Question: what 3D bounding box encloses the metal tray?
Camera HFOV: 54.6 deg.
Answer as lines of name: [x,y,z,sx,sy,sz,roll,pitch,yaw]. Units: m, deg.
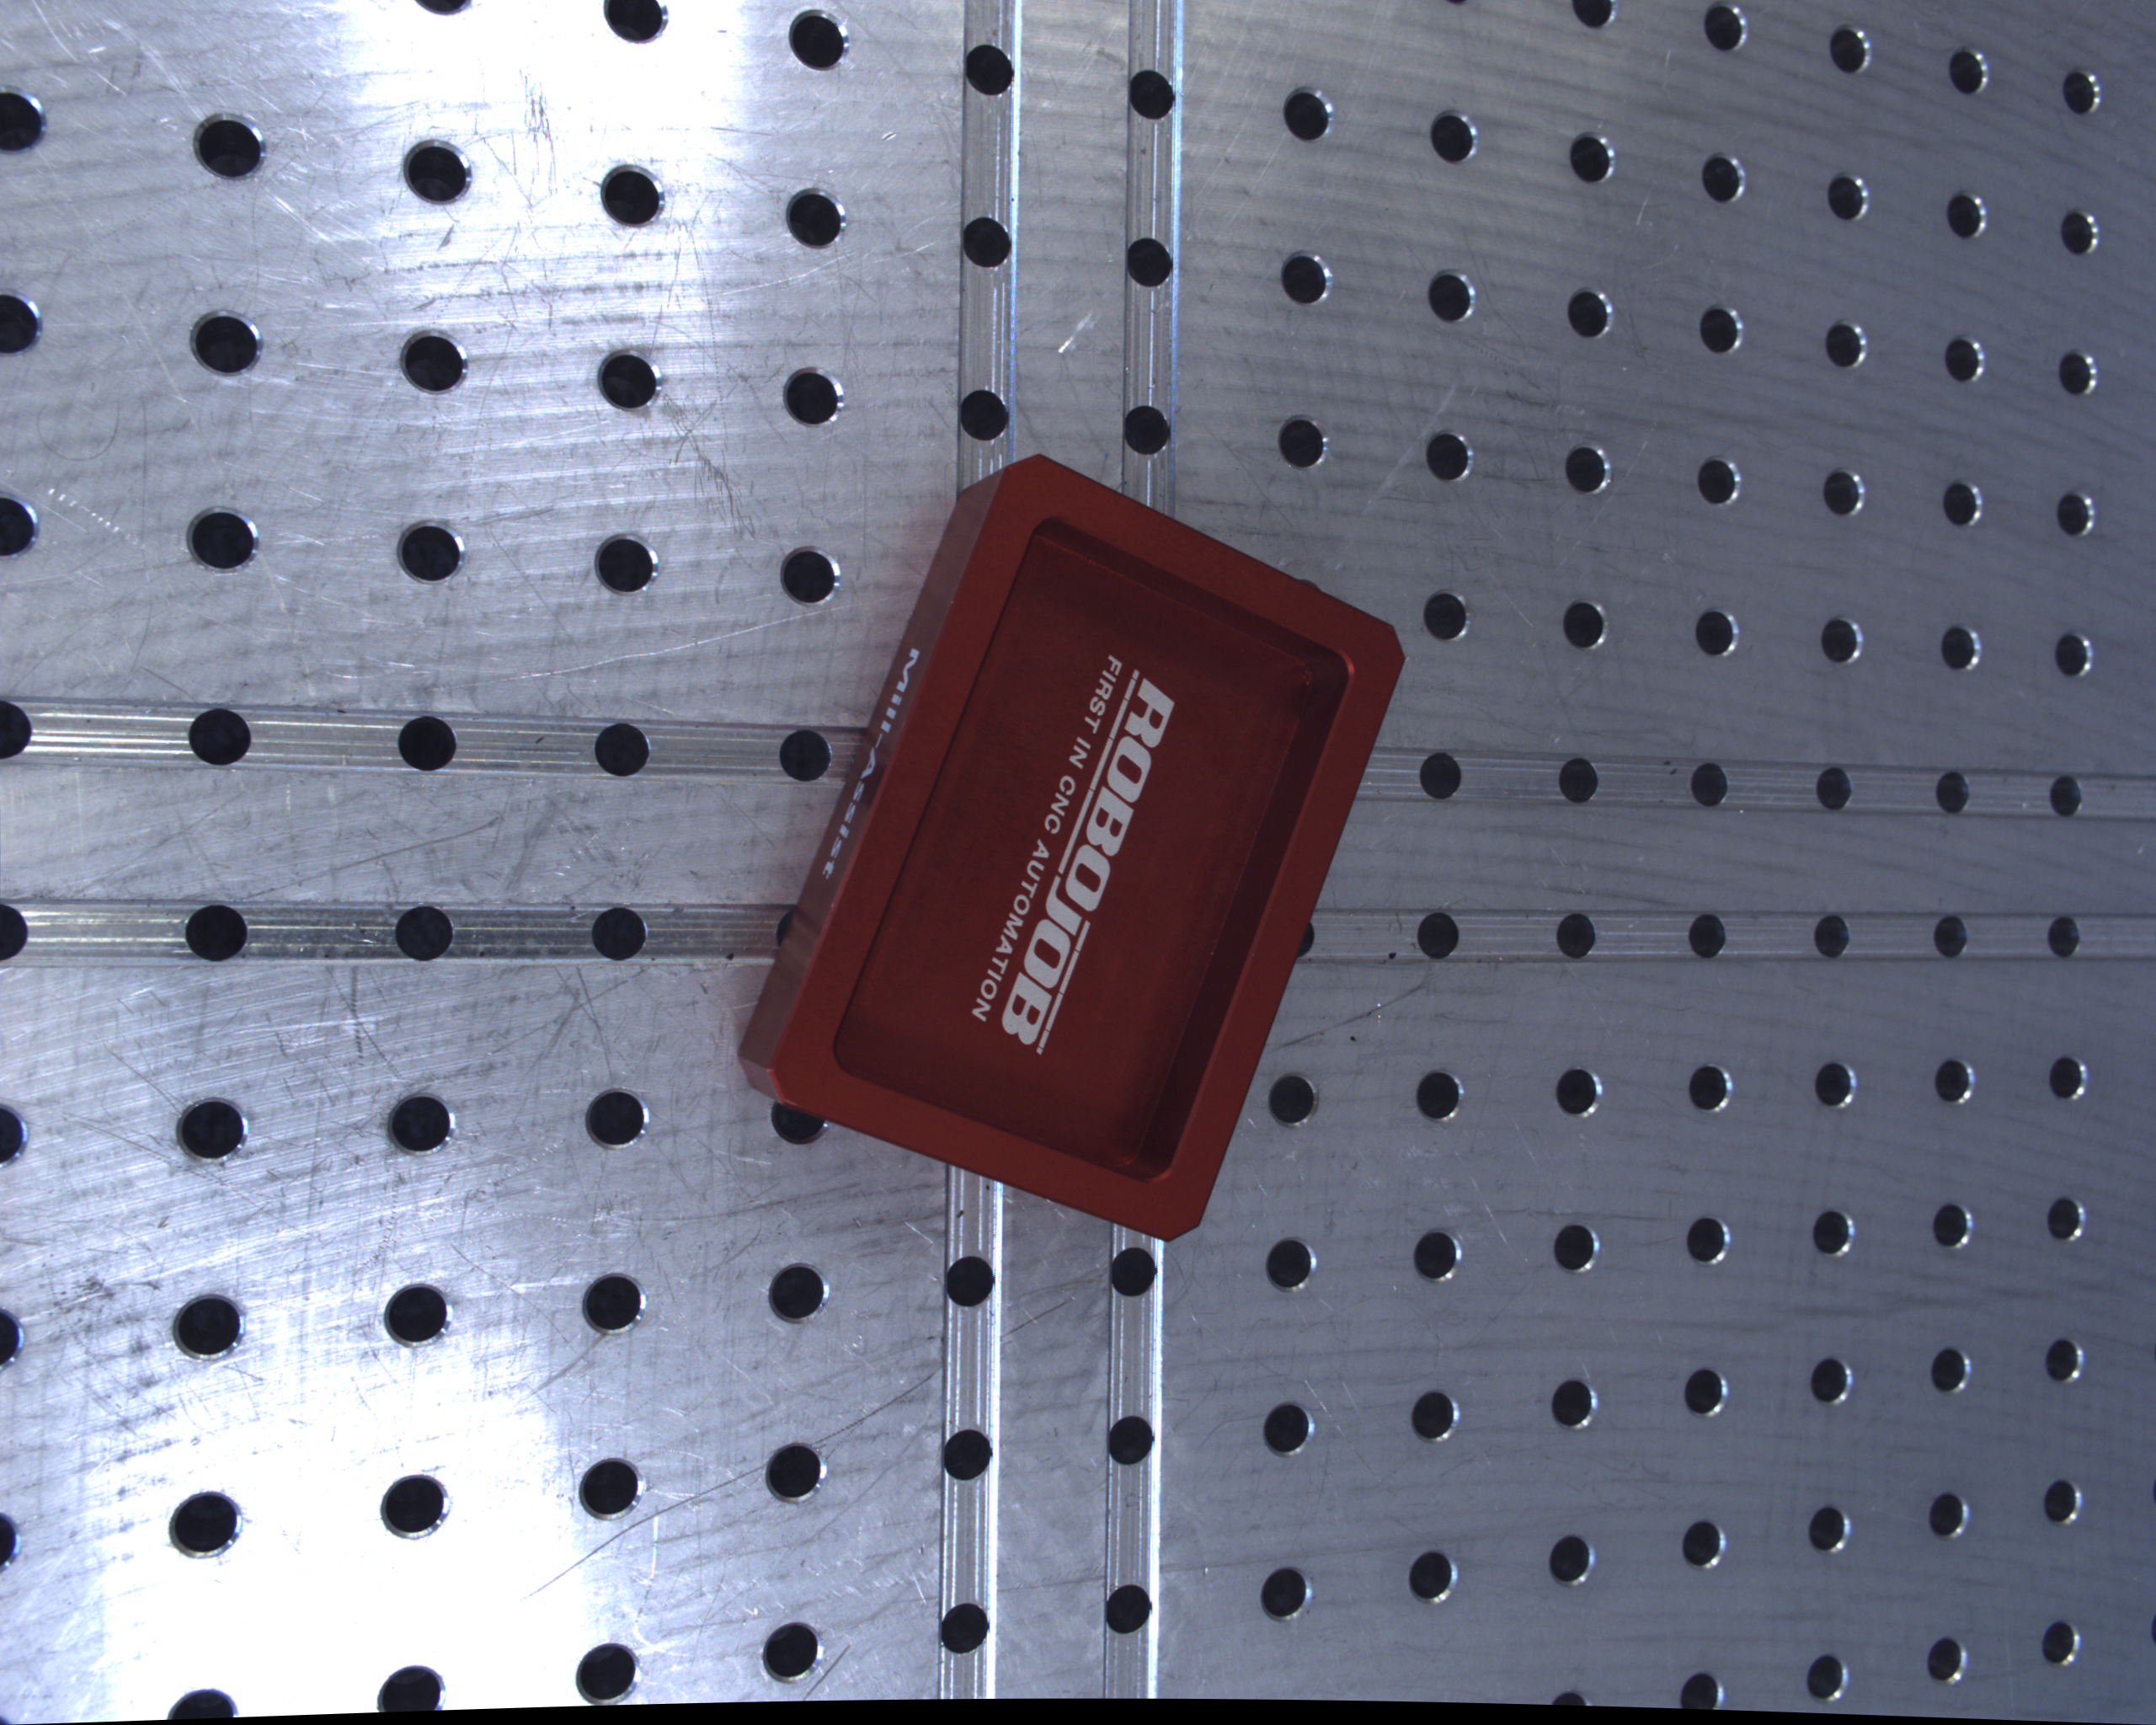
metal tray: [0.000,-0.002,0.409,0.090,0.030,0.130,23,83,-19]
